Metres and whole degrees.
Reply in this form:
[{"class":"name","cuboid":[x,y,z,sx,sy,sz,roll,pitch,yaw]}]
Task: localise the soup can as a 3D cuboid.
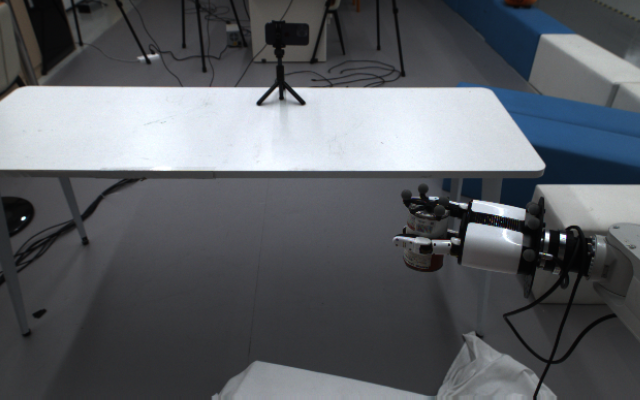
[{"class":"soup can","cuboid":[0.176,0.058,0.797,0.067,0.101,0.067,1,25,0]}]
